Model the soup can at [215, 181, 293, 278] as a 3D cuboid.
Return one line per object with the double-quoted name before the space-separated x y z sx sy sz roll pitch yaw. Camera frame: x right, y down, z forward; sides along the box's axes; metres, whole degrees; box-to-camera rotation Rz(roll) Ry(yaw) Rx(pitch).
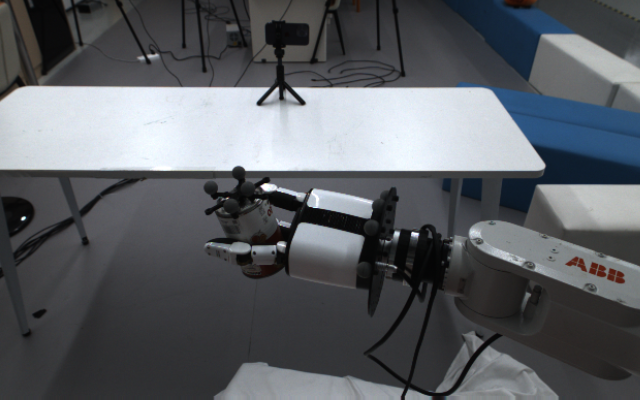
"soup can" -0.083 0.041 0.617 0.067 0.101 0.067 -14 31 8
